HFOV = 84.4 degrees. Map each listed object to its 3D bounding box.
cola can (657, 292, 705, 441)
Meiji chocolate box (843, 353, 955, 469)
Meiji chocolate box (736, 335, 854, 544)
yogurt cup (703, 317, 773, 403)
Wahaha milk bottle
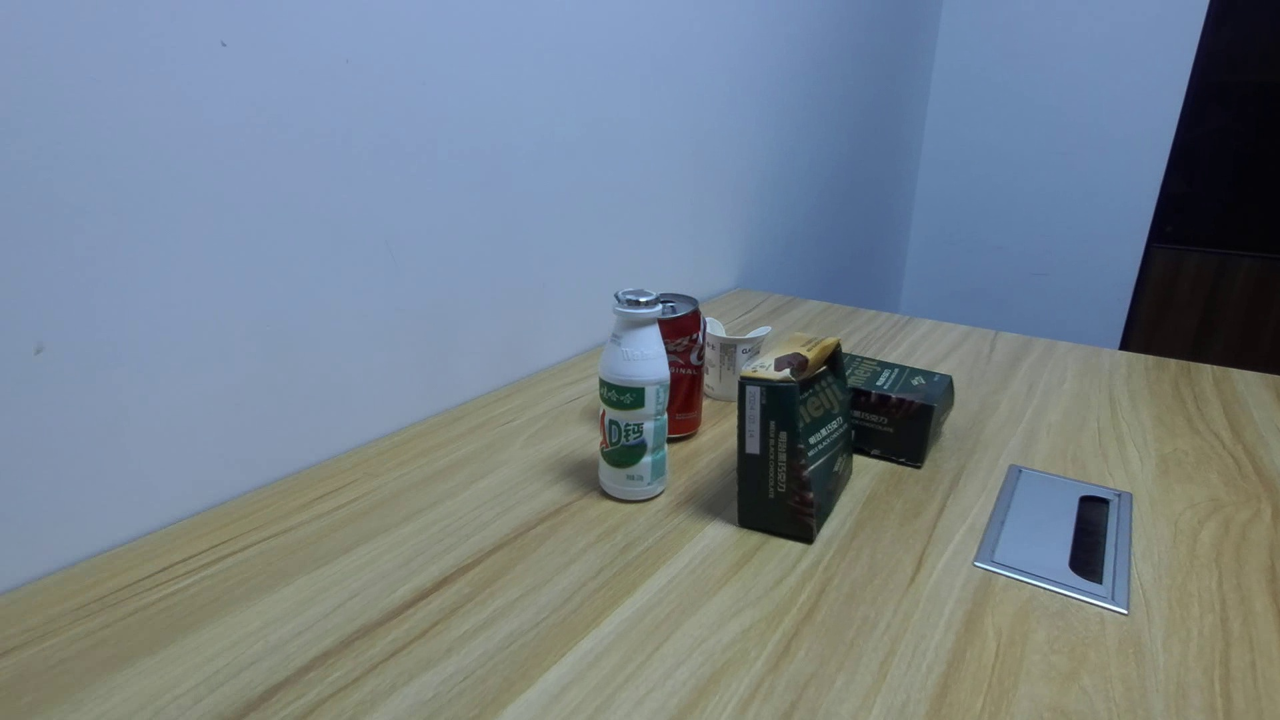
[{"bbox_3d":[0.025,0.005,0.600,0.072,0.117,0.065,10,21,25],"label":"cola can"},{"bbox_3d":[0.205,0.039,0.616,0.122,0.058,0.116,13,21,27],"label":"Meiji chocolate box"},{"bbox_3d":[0.111,0.048,0.495,0.051,0.117,0.118,3,17,30],"label":"Meiji chocolate box"},{"bbox_3d":[0.088,0.001,0.678,0.067,0.070,0.067,2,22,-1],"label":"yogurt cup"},{"bbox_3d":[-0.003,0.025,0.498,0.056,0.147,0.056,1,18,0],"label":"Wahaha milk bottle"}]
